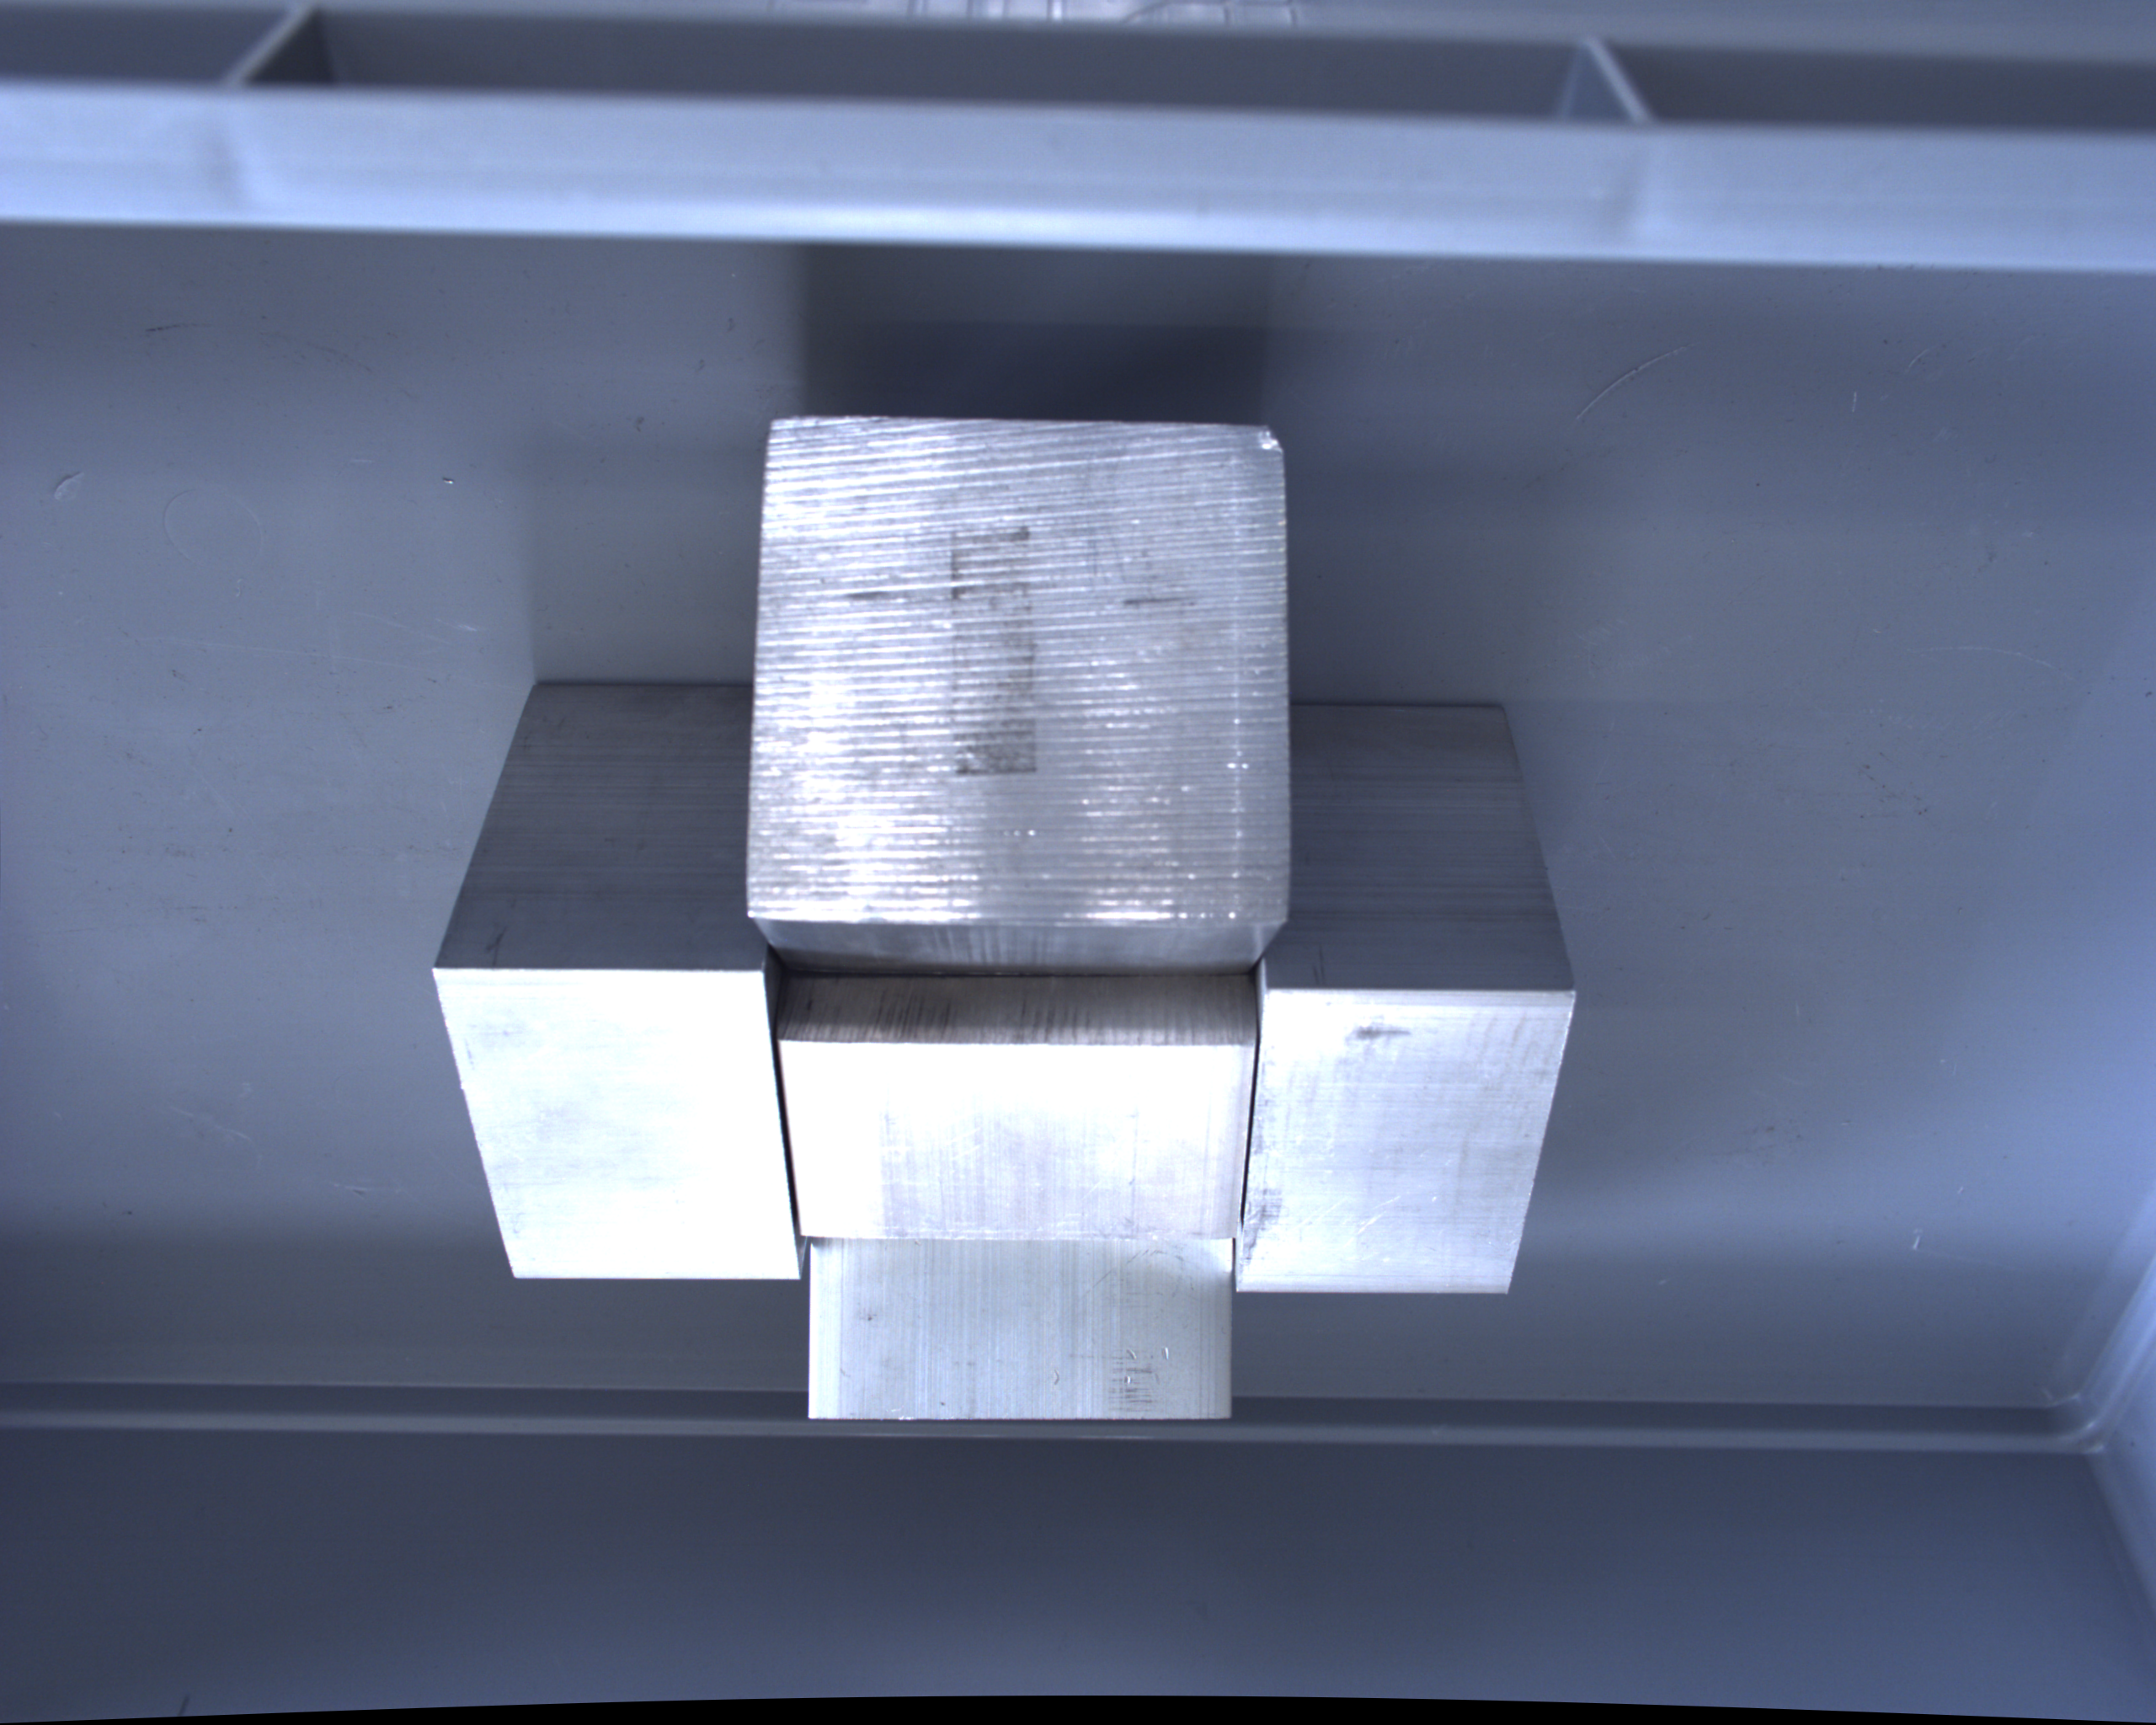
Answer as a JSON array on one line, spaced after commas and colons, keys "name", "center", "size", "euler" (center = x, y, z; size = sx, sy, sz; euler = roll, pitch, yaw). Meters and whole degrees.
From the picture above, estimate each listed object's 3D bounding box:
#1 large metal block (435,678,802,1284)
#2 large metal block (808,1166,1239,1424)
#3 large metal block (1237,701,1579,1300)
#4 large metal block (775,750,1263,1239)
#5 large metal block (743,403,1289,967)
[{"name": "large metal block", "center": [-0.078, 0.021, 0.389], "size": [0.050, 0.080, 0.079], "euler": [0, 130, -1]}, {"name": "large metal block", "center": [-0.011, 0.081, 0.431], "size": [0.081, 0.080, 0.050], "euler": [0, 88, -2]}, {"name": "large metal block", "center": [0.055, 0.025, 0.393], "size": [0.050, 0.080, 0.079], "euler": [1, 130, -1]}, {"name": "large metal block", "center": [-0.010, 0.023, 0.391], "size": [0.081, 0.080, 0.050], "euler": [1, 130, -1]}, {"name": "large metal block", "center": [-0.009, -0.026, 0.341], "size": [0.081, 0.080, 0.050], "euler": [1, 168, -1]}]
